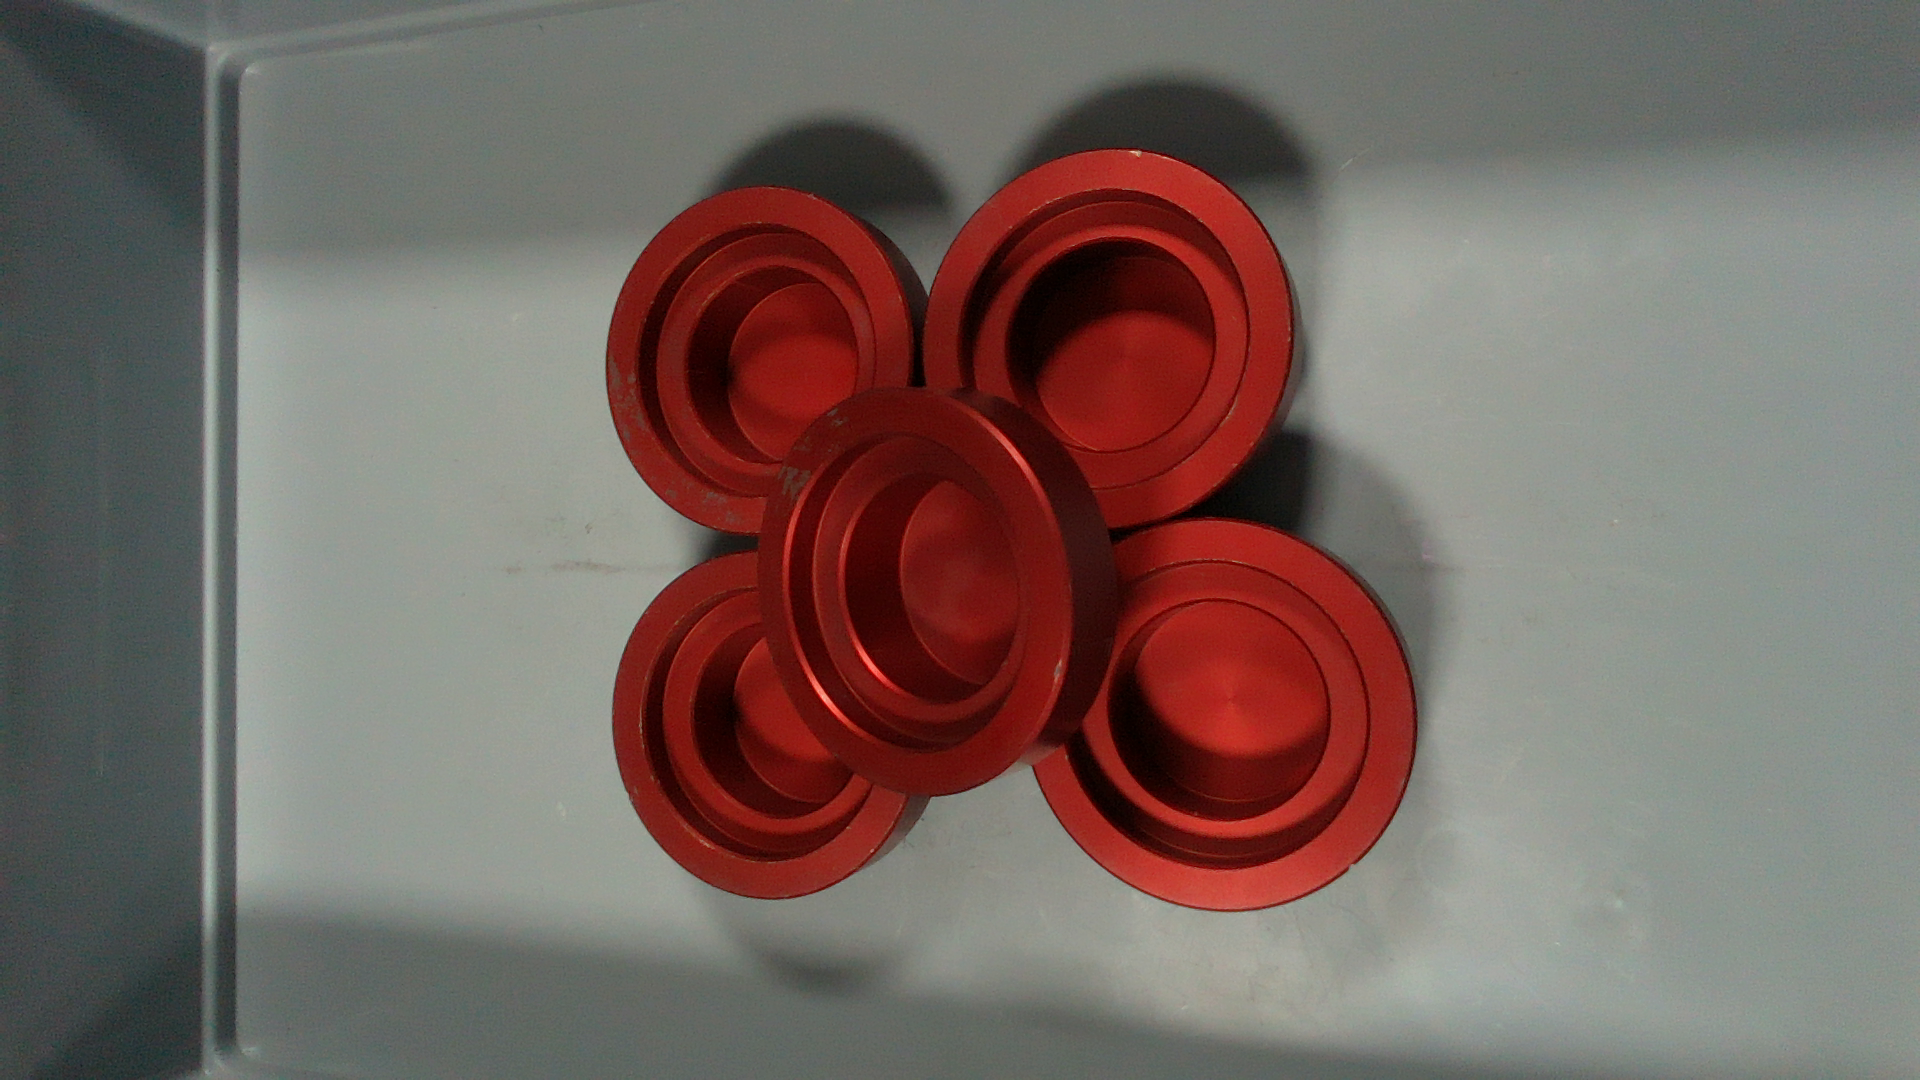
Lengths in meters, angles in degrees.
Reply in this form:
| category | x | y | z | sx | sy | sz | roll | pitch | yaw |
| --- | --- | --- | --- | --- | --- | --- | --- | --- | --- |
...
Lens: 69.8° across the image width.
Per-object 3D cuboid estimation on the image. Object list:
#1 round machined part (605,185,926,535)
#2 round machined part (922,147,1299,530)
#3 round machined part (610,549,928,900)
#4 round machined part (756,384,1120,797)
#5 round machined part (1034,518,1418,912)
| category | x | y | z | sx | sy | sz | roll | pitch | yaw |
| --- | --- | --- | --- | --- | --- | --- | --- | --- | --- |
| round machined part | -0.051 | -0.050 | 0.404 | 0.098 | 0.042 | 0.098 | 0 | 90 | 20 |
| round machined part | 0.043 | -0.051 | 0.370 | 0.098 | 0.042 | 0.098 | 0 | 90 | 20 |
| round machined part | -0.049 | 0.052 | 0.403 | 0.098 | 0.042 | 0.098 | 0 | 90 | 20 |
| round machined part | -0.002 | 0.010 | 0.341 | 0.098 | 0.042 | 0.098 | 5 | 98 | 38 |
| round machined part | 0.069 | 0.043 | 0.361 | 0.098 | 0.042 | 0.098 | 0 | 90 | 20 |
